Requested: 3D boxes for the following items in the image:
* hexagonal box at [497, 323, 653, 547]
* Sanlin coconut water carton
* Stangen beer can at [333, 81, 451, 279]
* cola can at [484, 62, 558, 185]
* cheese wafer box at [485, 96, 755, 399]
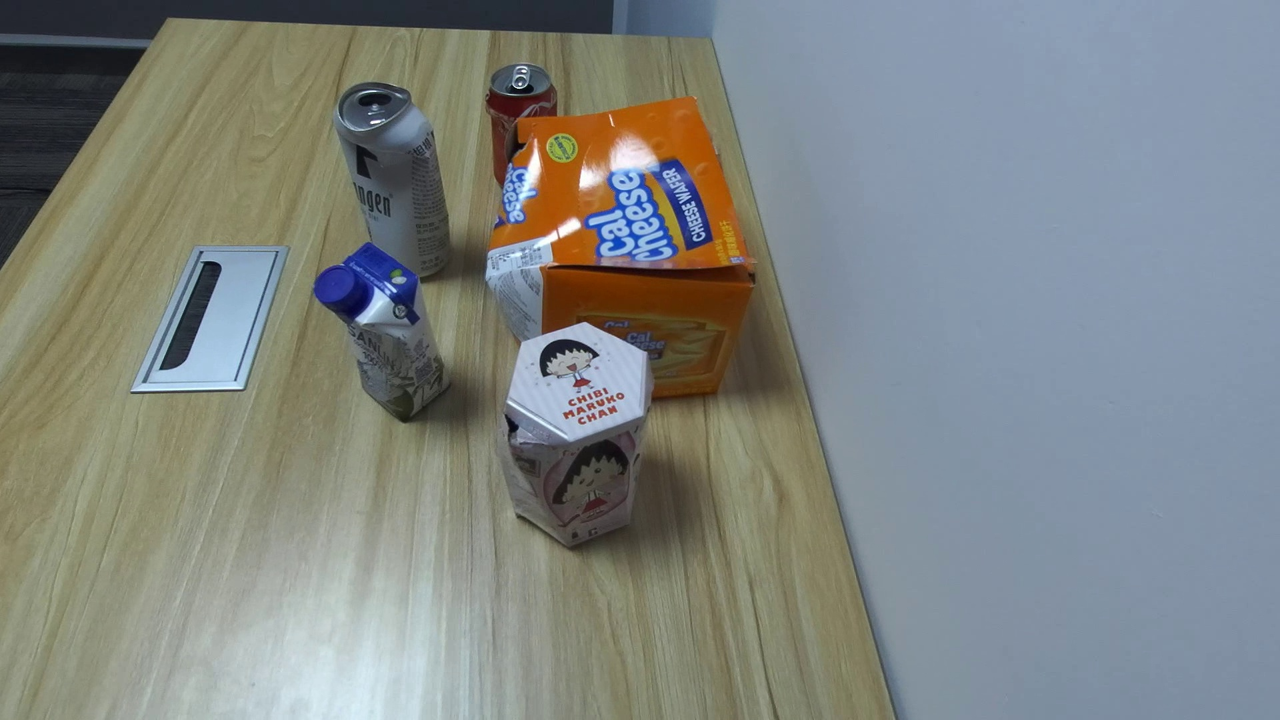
[{"bbox_3d":[-0.043,0.052,0.463,0.091,0.134,0.090,13,49,6],"label":"hexagonal box"},{"bbox_3d":[-0.183,-0.020,0.505,0.078,0.142,0.058,33,62,20],"label":"Sanlin coconut water carton"},{"bbox_3d":[-0.200,-0.142,0.581,0.077,0.162,0.065,-7,53,-11],"label":"Stangen beer can"},{"bbox_3d":[-0.112,-0.224,0.682,0.066,0.117,0.066,36,59,20],"label":"cola can"},{"bbox_3d":[-0.028,-0.092,0.570,0.191,0.145,0.218,-5,53,-10],"label":"cheese wafer box"}]
